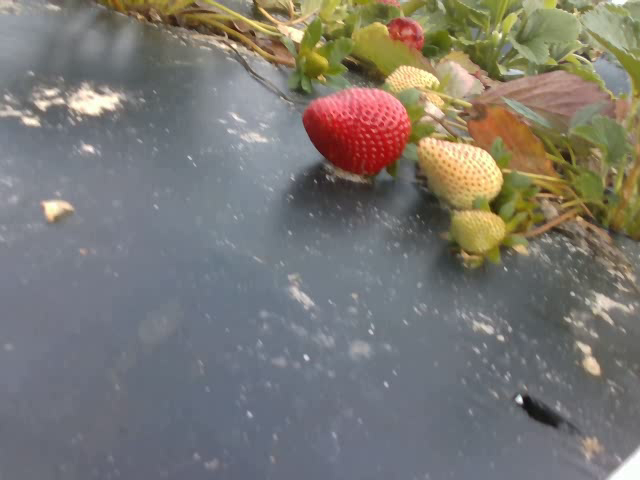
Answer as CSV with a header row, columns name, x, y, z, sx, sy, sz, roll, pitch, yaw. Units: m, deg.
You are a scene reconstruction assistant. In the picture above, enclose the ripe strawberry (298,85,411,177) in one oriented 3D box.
name,x,y,z,sx,sy,sz,roll,pitch,yaw
ripe strawberry,0.012,-0.048,0.256,0.050,0.033,0.059,33,17,24
